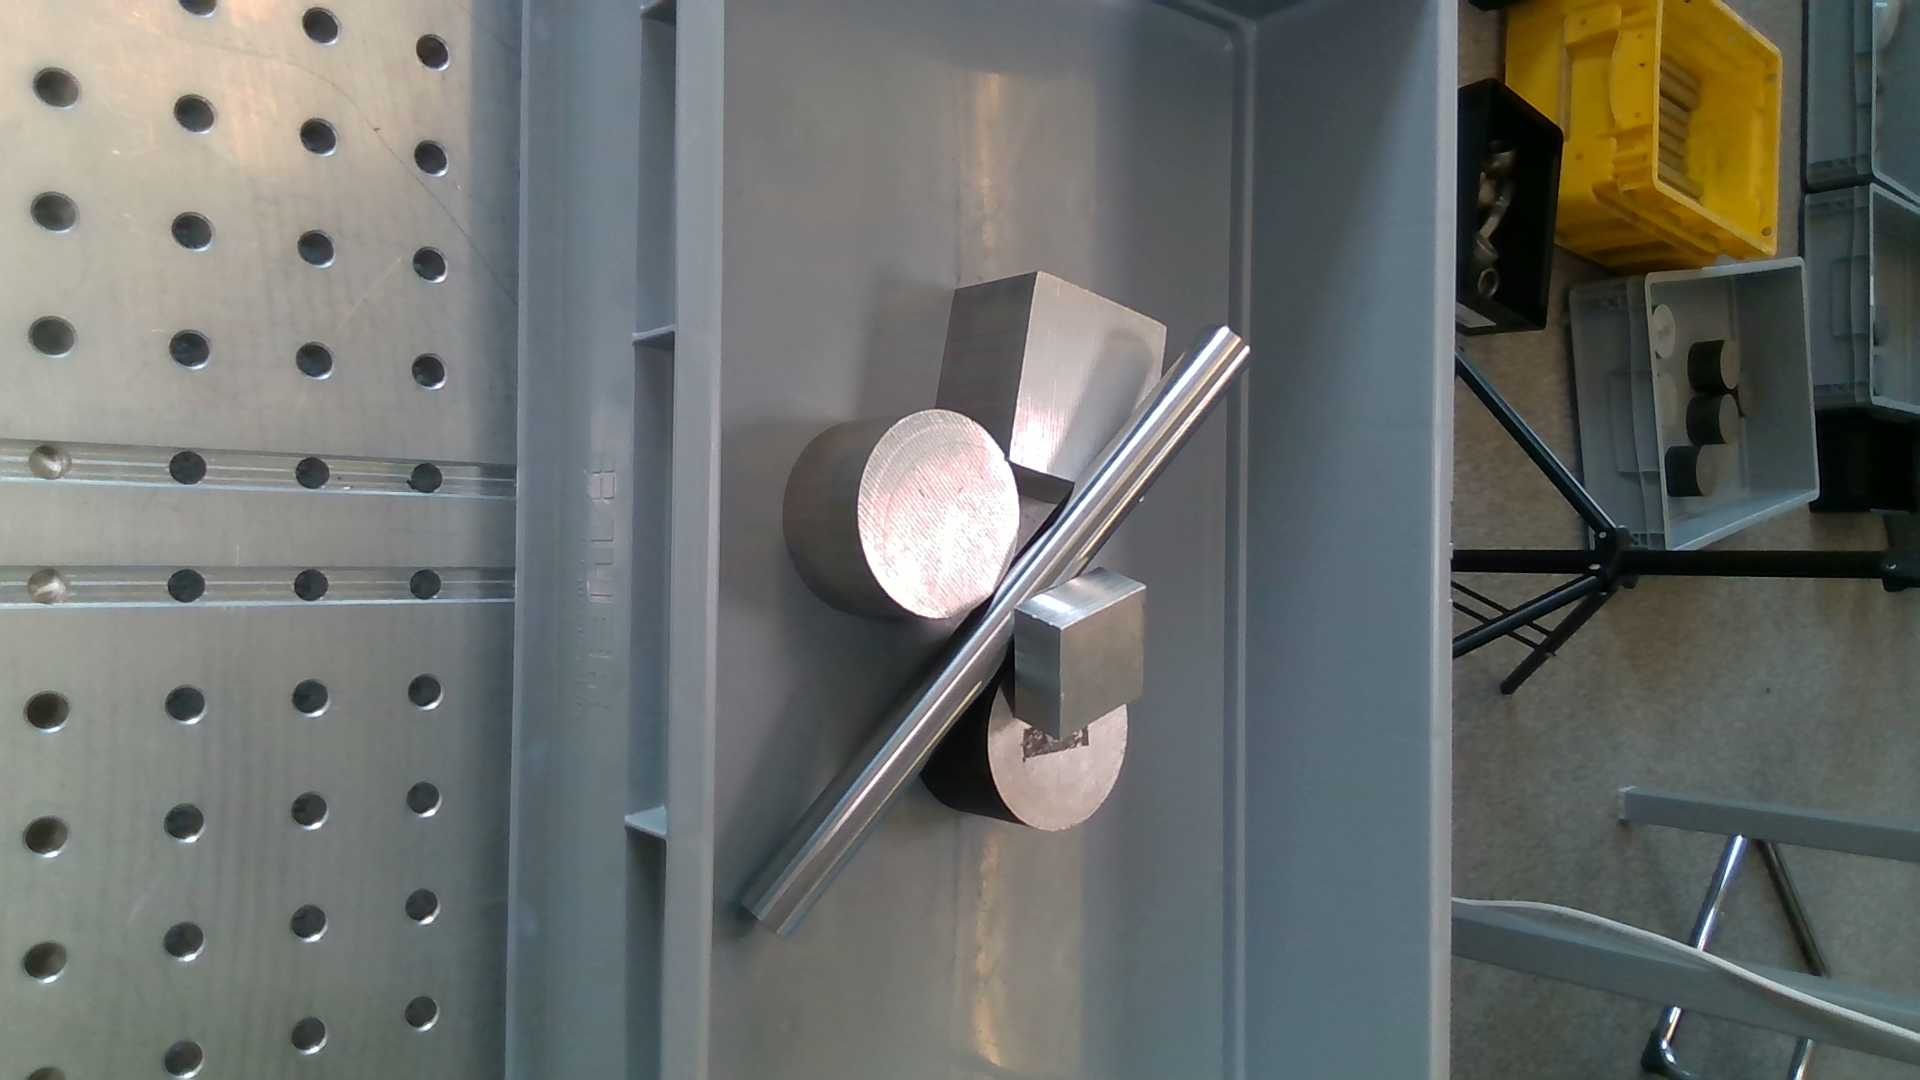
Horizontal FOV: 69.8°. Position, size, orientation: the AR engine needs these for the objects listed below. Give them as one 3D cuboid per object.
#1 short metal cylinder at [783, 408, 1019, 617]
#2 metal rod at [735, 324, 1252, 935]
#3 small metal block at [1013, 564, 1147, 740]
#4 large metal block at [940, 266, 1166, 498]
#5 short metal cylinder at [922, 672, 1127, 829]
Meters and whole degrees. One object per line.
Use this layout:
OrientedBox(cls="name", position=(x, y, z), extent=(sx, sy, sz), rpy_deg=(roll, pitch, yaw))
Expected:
OrientedBox(cls="short metal cylinder", position=(-0.023, -0.010, 0.546), extent=(0.080, 0.050, 0.080), rpy_deg=(0, 90, -40))
OrientedBox(cls="metal rod", position=(0.019, 0.029, 0.552), extent=(0.300, 0.025, 0.025), rpy_deg=(-50, 121, -12))
OrientedBox(cls="small metal block", position=(0.048, 0.044, 0.548), extent=(0.050, 0.025, 0.050), rpy_deg=(-23, 123, -38))
OrientedBox(cls="large metal block", position=(0.039, -0.064, 0.596), extent=(0.080, 0.050, 0.080), rpy_deg=(14, 81, -39))
OrientedBox(cls="short metal cylinder", position=(0.025, 0.079, 0.588), extent=(0.080, 0.050, 0.080), rpy_deg=(0, 90, -40))
